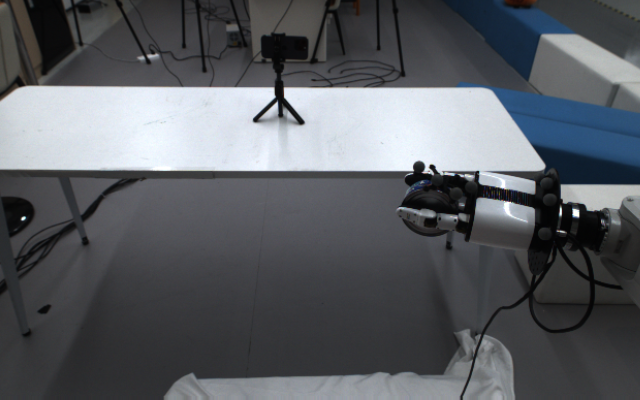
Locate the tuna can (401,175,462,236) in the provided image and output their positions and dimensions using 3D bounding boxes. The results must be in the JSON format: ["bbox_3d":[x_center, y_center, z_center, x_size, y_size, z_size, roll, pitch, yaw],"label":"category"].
[{"bbox_3d":[0.170,0.010,0.740,0.085,0.085,0.034,12,33,14],"label":"tuna can"}]
